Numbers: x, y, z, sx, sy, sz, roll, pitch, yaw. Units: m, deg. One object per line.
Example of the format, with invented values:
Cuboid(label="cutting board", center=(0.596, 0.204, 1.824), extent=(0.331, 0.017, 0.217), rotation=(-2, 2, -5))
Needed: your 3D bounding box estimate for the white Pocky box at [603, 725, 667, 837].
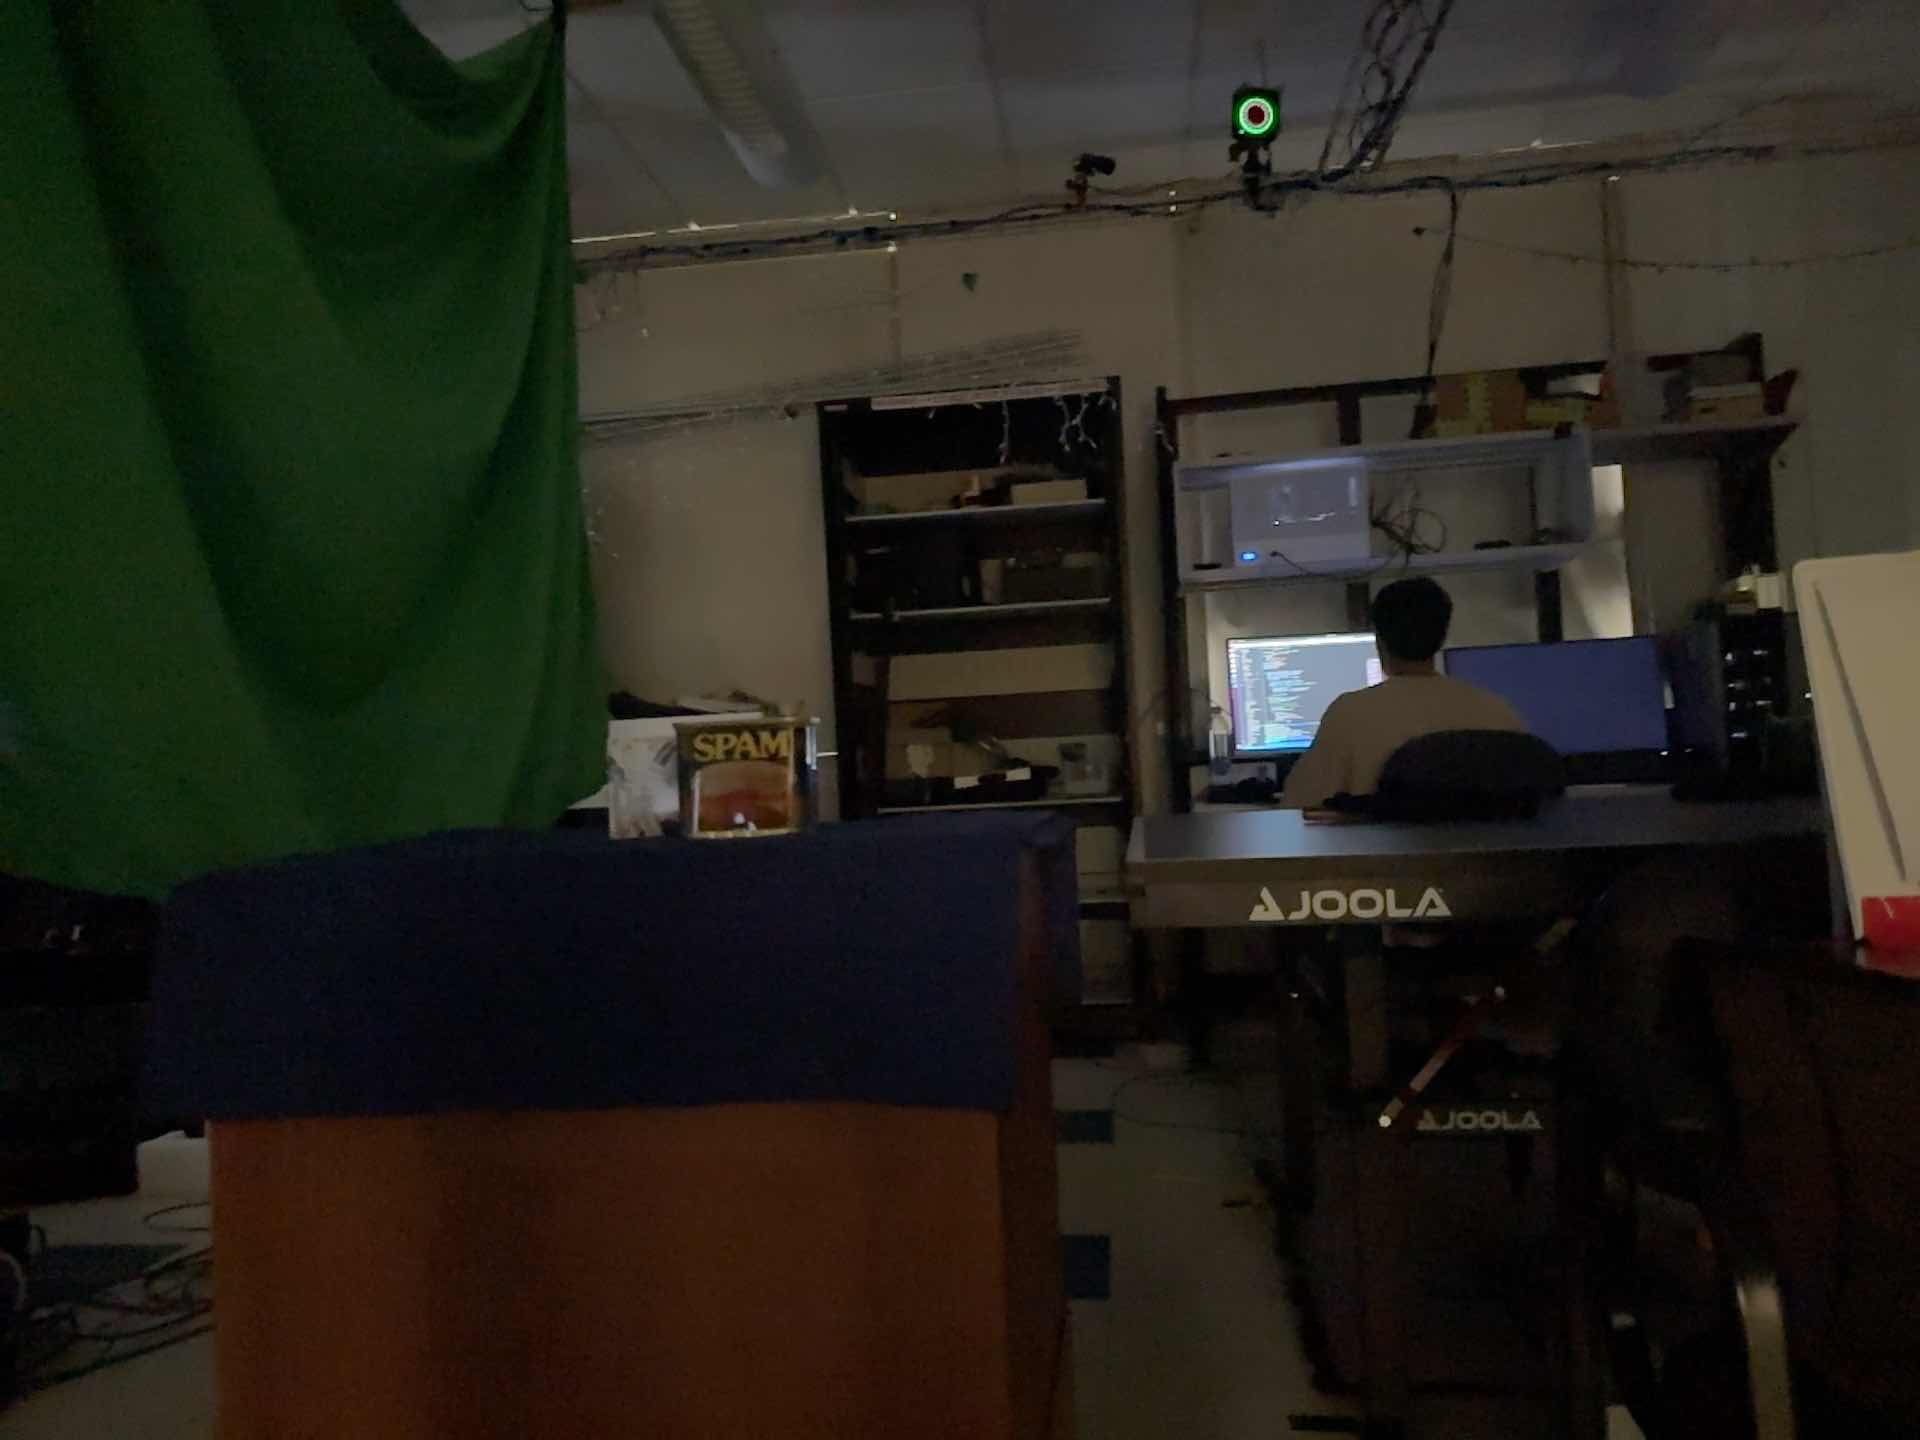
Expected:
Cuboid(label="white Pocky box", center=(-0.196, 0.044, 1.012), extent=(0.154, 0.084, 0.028), rotation=(-3, -4, 18))

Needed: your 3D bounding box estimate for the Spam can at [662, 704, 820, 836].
Cuboid(label="Spam can", center=(-0.146, 0.034, 0.896), extent=(0.100, 0.083, 0.056), rotation=(-1, -4, 9))
